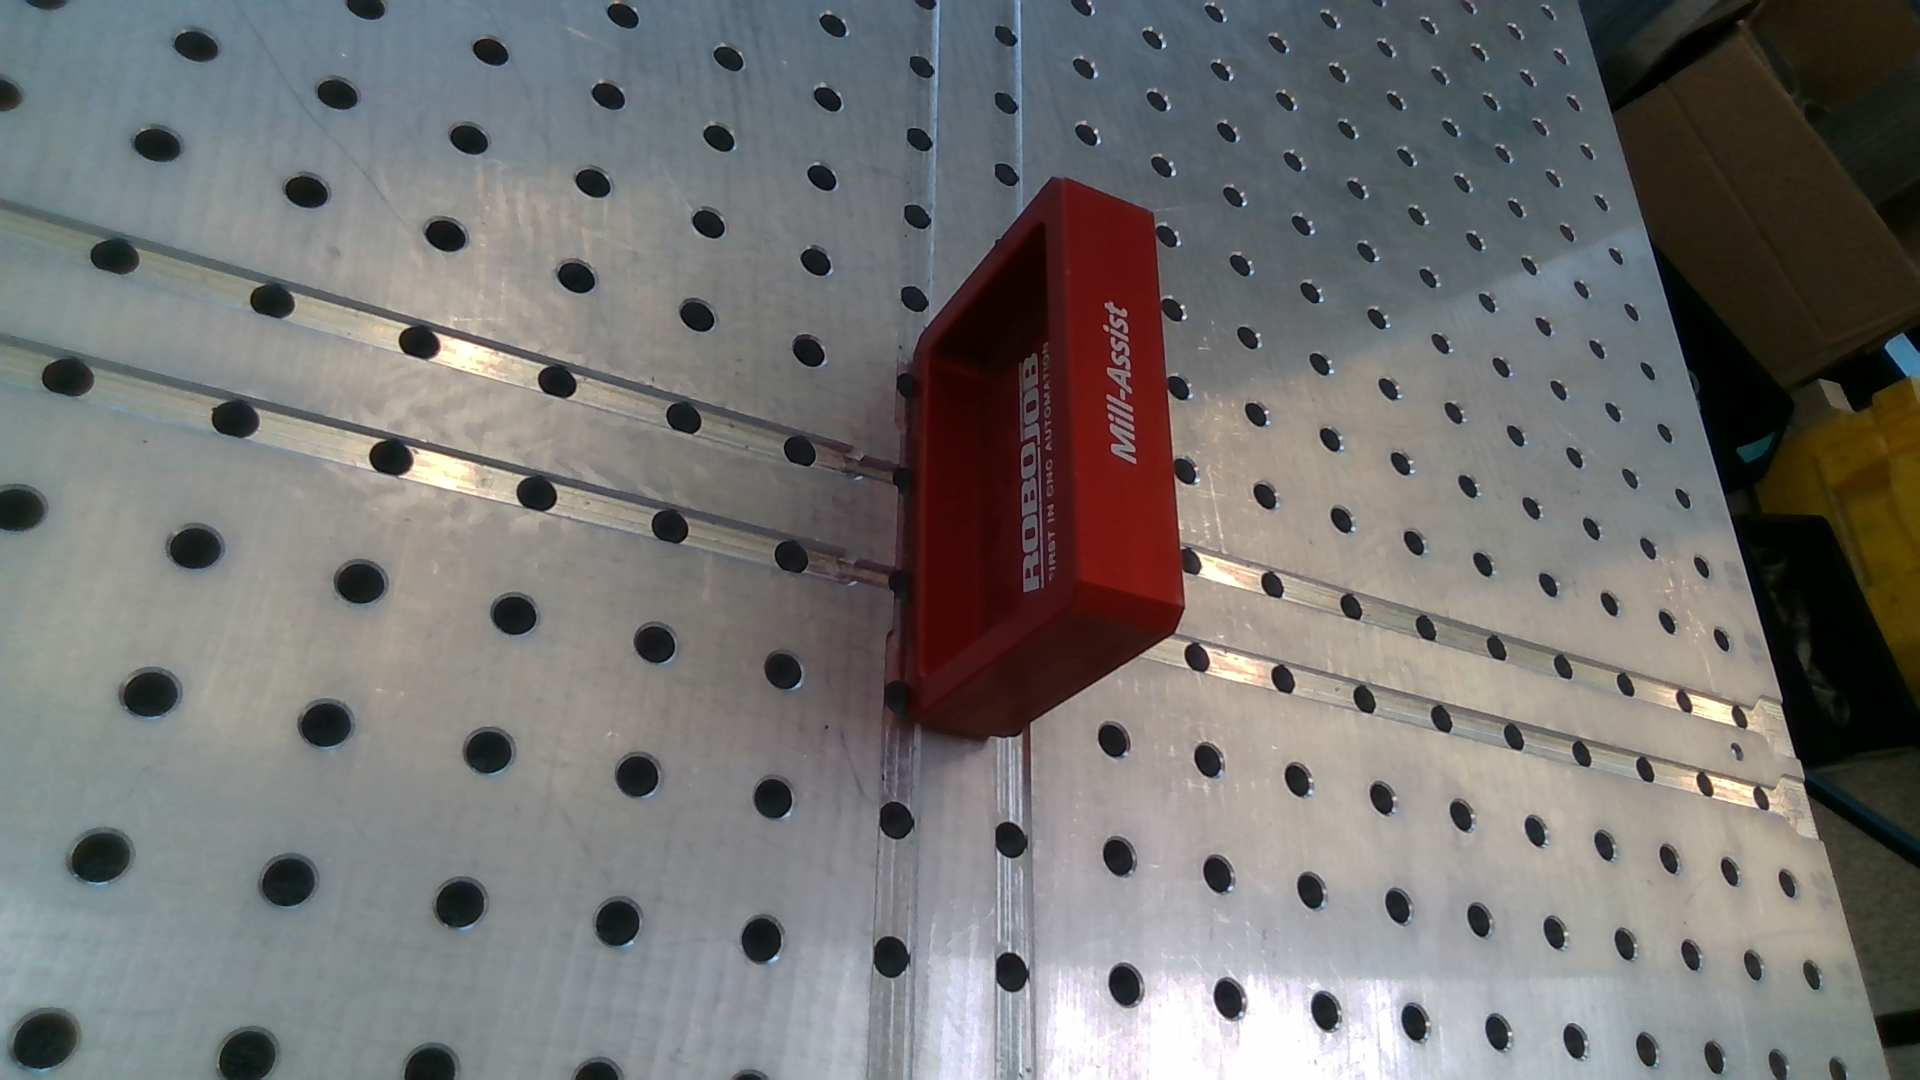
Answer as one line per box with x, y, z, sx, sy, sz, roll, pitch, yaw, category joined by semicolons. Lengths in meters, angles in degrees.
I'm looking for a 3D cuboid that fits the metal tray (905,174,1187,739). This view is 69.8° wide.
0.019;-0.022;0.377;0.030;0.090;0.130;14;59;-25;metal tray
